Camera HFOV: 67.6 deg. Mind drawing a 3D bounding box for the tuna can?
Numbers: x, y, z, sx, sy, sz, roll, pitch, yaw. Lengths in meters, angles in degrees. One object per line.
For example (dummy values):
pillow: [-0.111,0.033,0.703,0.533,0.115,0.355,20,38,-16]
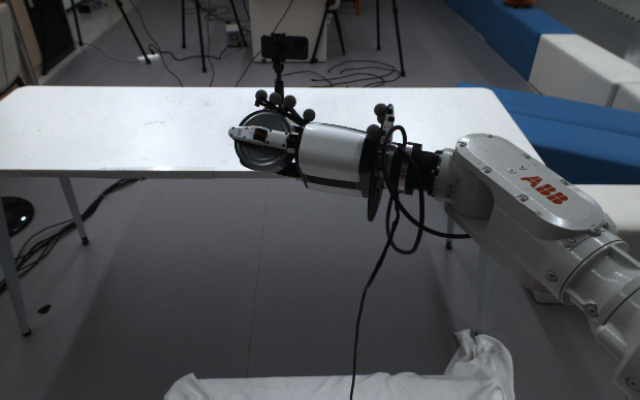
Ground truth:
tuna can: [-0.074,-0.082,0.684,0.085,0.085,0.034,13,-6,16]
